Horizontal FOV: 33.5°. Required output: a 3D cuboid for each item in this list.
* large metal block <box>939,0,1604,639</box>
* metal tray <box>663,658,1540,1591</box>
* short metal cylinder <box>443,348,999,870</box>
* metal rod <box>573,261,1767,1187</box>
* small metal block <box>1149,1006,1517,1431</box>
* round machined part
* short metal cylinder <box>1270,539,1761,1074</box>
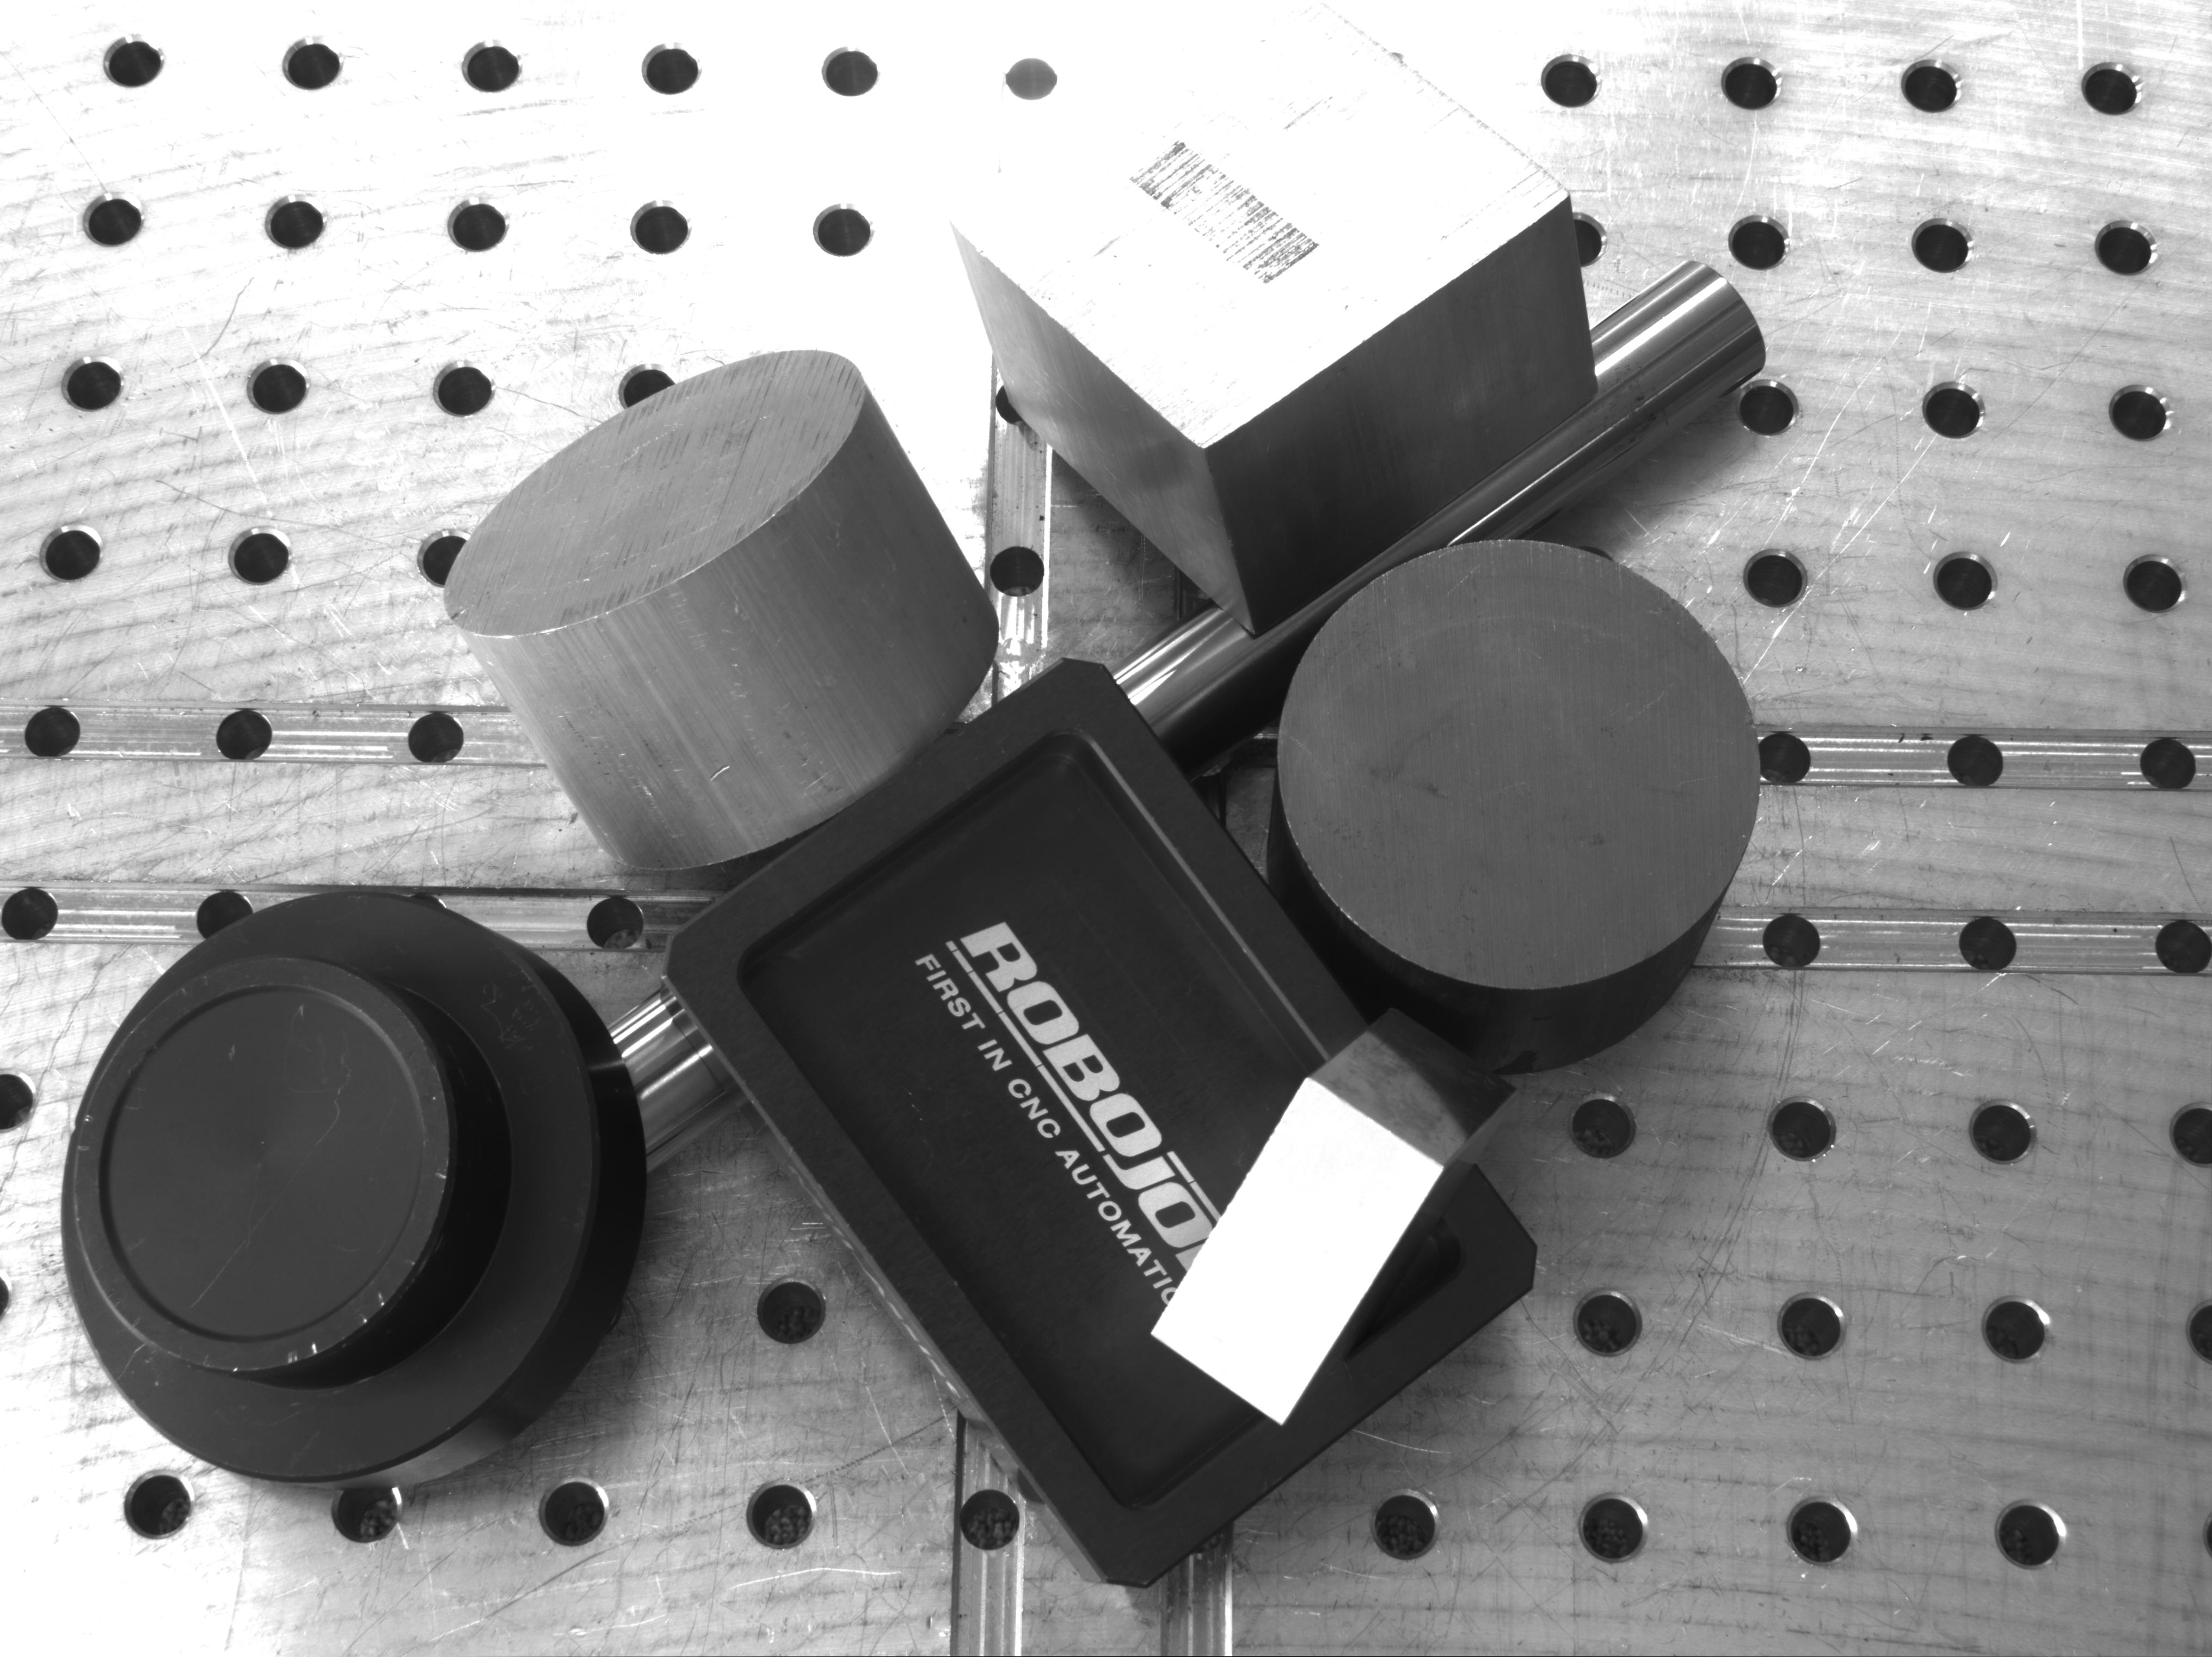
[{"bbox_3d":[0.030,-0.094,0.657,0.080,0.050,0.080,-35,54,-12],"label":"large metal block"},{"bbox_3d":[-0.002,0.049,0.612,0.090,0.030,0.130,-36,86,-12],"label":"metal tray"},{"bbox_3d":[-0.065,-0.038,0.627,0.080,0.050,0.080,-22,30,14],"label":"short metal cylinder"},{"bbox_3d":[-0.005,-0.008,0.653,0.300,0.025,0.025,-36,74,-11],"label":"metal rod"},{"bbox_3d":[0.037,0.061,0.581,0.025,0.050,0.050,33,108,10],"label":"small metal block"},{"bbox_3d":[-0.129,0.058,0.604,0.098,0.042,0.098,-4,75,15],"label":"round machined part"},{"bbox_3d":[0.069,-0.003,0.635,0.080,0.050,0.080,0,70,0],"label":"short metal cylinder"}]
